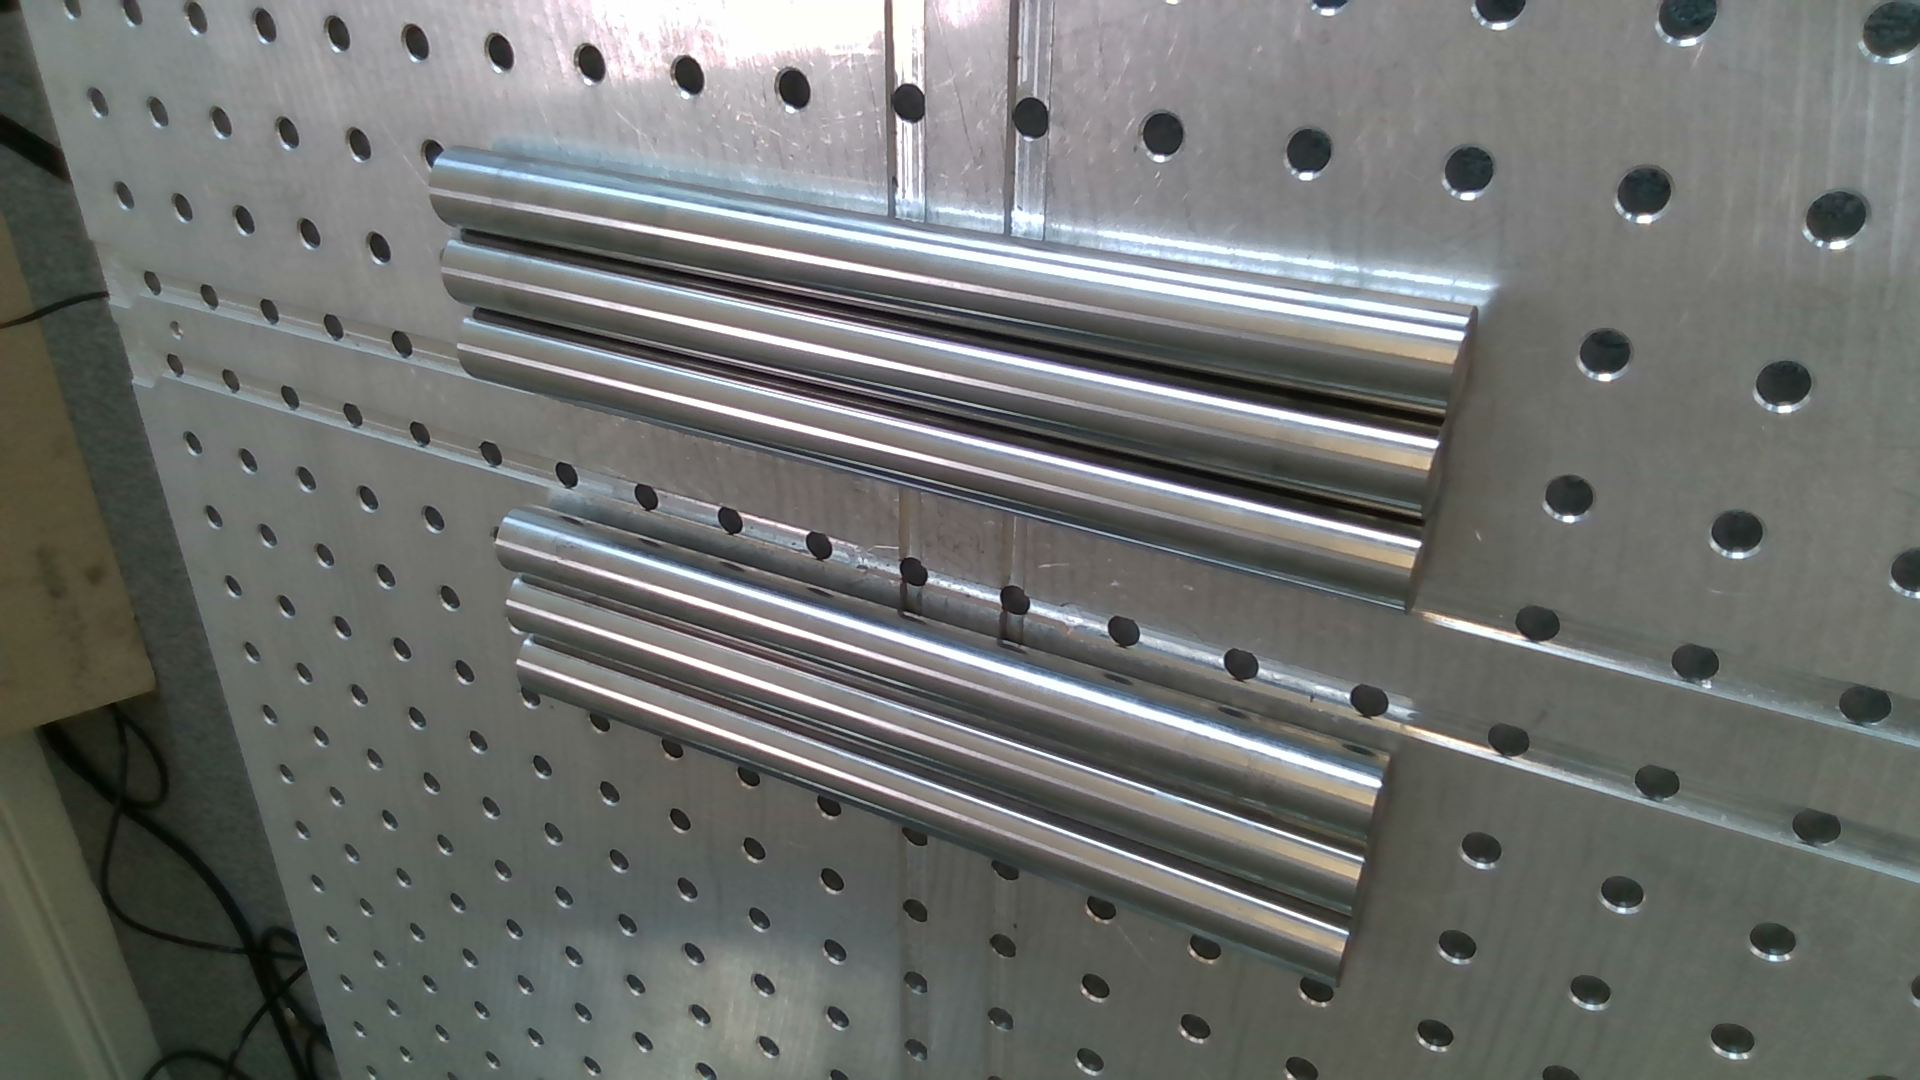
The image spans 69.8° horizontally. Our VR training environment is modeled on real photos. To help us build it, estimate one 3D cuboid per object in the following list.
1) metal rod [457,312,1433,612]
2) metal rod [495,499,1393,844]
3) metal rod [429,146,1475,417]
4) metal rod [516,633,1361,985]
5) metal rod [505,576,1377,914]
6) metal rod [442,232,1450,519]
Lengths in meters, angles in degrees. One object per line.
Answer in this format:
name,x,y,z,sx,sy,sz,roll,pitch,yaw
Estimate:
metal rod,-0.023,-0.030,0.388,0.300,0.025,0.025,15,122,24
metal rod,-0.022,0.032,0.422,0.300,0.025,0.025,15,122,24
metal rod,-0.022,-0.074,0.364,0.300,0.025,0.025,15,122,24
metal rod,-0.023,0.077,0.447,0.300,0.025,0.025,15,122,24
metal rod,-0.023,0.054,0.434,0.300,0.025,0.025,15,122,24
metal rod,-0.023,-0.052,0.376,0.300,0.025,0.025,15,122,24
